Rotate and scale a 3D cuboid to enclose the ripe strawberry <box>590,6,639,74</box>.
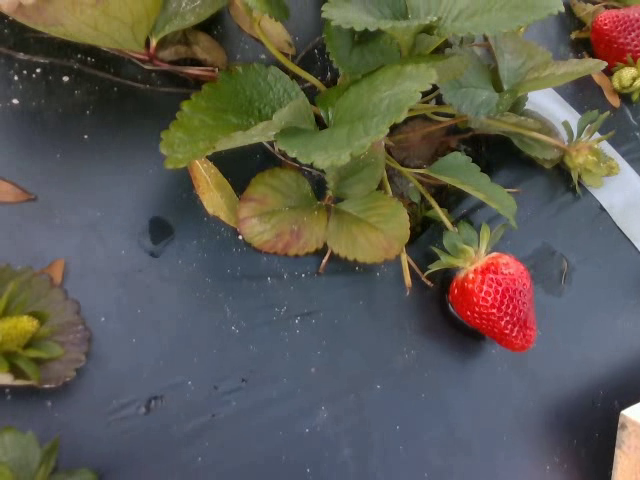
[{"bbox_3d":[0.187,-0.131,0.365,0.062,0.043,0.042,13,12,-22],"label":"ripe strawberry"}]

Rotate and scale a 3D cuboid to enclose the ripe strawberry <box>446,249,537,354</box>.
[{"bbox_3d":[0.073,0.024,0.243,0.036,0.046,0.040,-21,-24,-11],"label":"ripe strawberry"}]
